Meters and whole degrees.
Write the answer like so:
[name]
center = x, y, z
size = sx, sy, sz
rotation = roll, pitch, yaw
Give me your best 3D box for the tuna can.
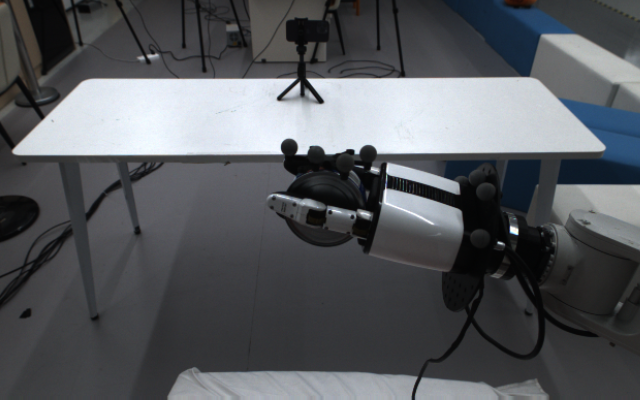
[tuna can]
center = 0.010, 0.009, 0.506
size = 0.085, 0.085, 0.034
rotation = 6, 23, 6
